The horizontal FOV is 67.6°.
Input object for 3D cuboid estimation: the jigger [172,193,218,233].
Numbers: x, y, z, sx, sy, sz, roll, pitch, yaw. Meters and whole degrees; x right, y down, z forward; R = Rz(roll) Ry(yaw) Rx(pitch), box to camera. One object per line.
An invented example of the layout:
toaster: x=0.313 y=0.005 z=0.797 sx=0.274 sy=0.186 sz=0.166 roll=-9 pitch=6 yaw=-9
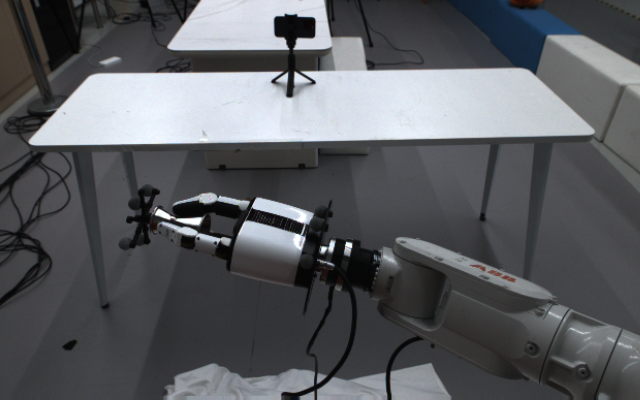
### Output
jigger: x=-0.178 y=0.031 z=0.642 sx=0.071 sy=0.043 sz=0.043 roll=11 pitch=35 yaw=4
